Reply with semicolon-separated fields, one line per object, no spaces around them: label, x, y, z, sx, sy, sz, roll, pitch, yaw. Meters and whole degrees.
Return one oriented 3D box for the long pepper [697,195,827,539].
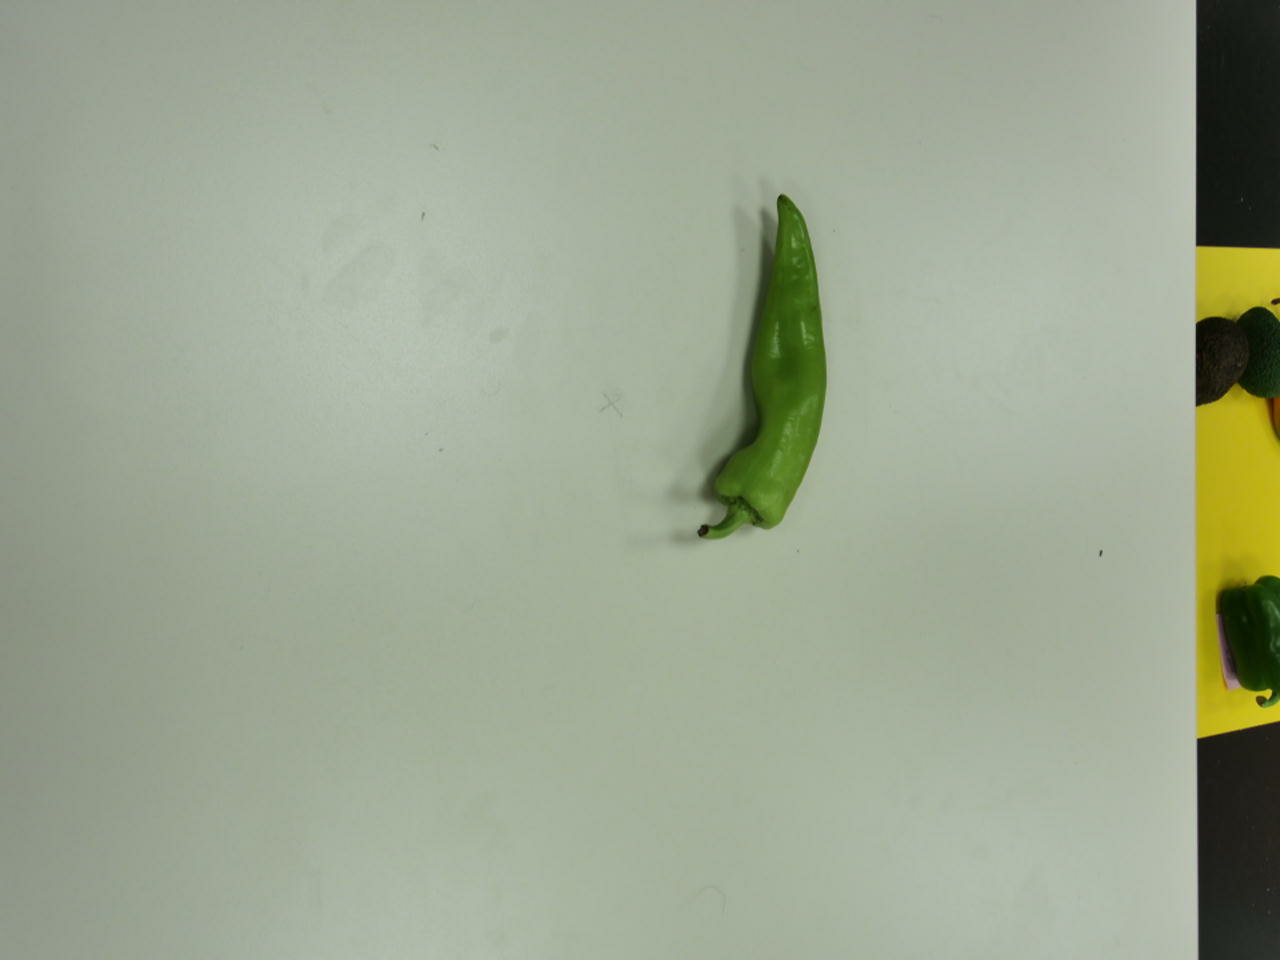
long pepper;0.082;-0.058;0.580;0.065;0.045;0.204;17;84;-21
